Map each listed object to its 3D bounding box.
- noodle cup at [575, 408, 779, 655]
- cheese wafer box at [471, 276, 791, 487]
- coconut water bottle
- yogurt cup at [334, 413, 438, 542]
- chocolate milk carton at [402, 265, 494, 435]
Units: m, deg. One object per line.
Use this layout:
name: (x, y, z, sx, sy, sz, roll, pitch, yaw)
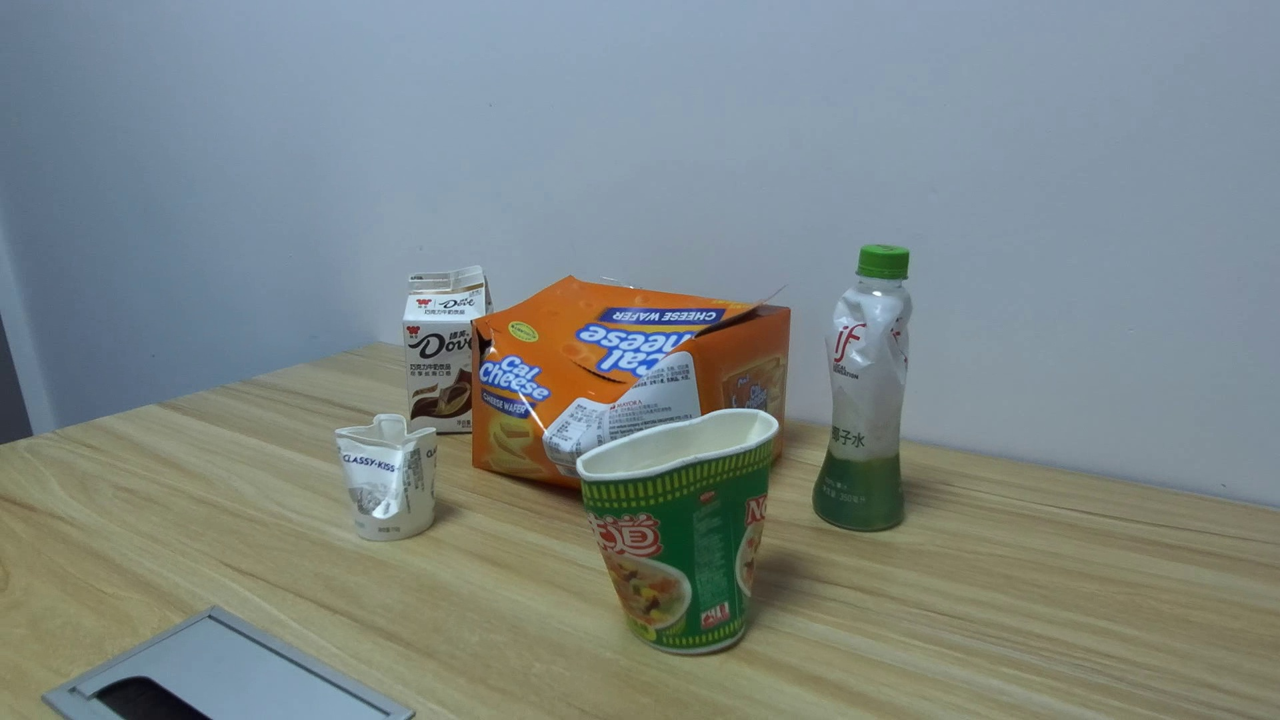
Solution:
noodle cup: (0.024, 0.088, 0.371, 0.115, 0.111, 0.070, -5, 19, -14)
cheese wafer box: (-0.013, 0.018, 0.560, 0.218, 0.145, 0.192, 8, 18, 26)
coconut water bottle: (0.155, 0.019, 0.473, 0.067, 0.187, 0.067, 1, 15, 0)
yogurt cup: (-0.169, 0.079, 0.484, 0.054, 0.072, 0.055, 10, 16, 37)
chocolate milk carton: (-0.174, -0.012, 0.661, 0.075, 0.148, 0.074, -1, 13, -4)
